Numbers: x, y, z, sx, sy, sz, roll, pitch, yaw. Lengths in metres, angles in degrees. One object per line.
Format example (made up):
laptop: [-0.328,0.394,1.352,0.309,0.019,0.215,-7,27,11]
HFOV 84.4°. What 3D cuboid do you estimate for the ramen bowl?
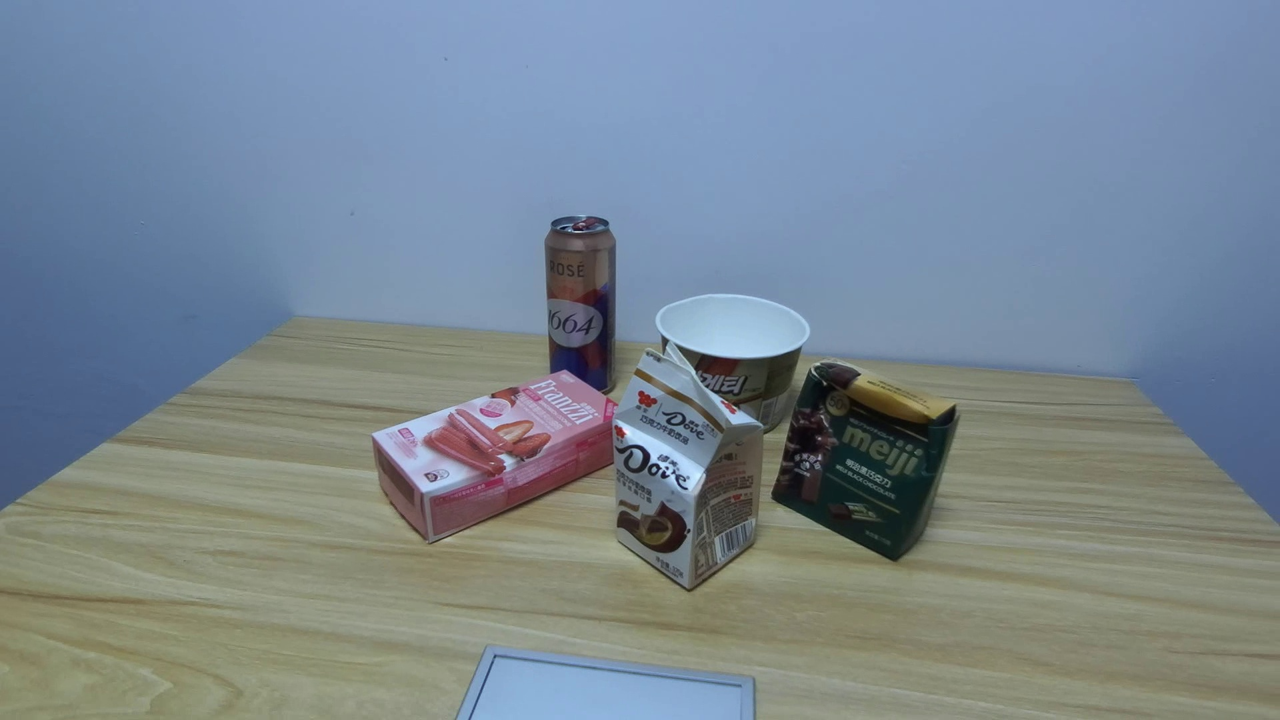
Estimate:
ramen bowl: [0.083,0.006,0.659,0.140,0.095,0.140,0,28,0]

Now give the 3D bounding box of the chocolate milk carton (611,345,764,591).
chocolate milk carton: [0.033,0.064,0.473,0.074,0.156,0.076,-25,38,-37]

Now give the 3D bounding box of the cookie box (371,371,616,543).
cookie box: [-0.108,0.072,0.577,0.188,0.049,0.104,-19,32,-34]

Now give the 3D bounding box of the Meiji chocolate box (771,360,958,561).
Meiji chocolate box: [0.166,0.069,0.523,0.116,0.117,0.052,23,26,36]

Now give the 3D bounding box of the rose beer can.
rose beer can: [-0.056,-0.049,0.687,0.068,0.169,0.068,1,23,0]
